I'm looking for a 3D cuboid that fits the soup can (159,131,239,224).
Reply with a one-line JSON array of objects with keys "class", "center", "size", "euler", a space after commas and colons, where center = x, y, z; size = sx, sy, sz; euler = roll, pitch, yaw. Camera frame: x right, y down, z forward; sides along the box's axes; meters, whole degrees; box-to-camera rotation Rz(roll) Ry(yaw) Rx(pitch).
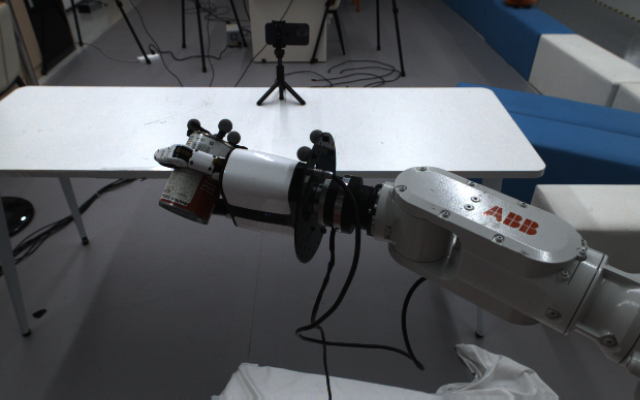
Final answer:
[{"class": "soup can", "center": [-0.154, -0.027, 0.618], "size": [0.067, 0.067, 0.101], "euler": [16, 75, 19]}]
